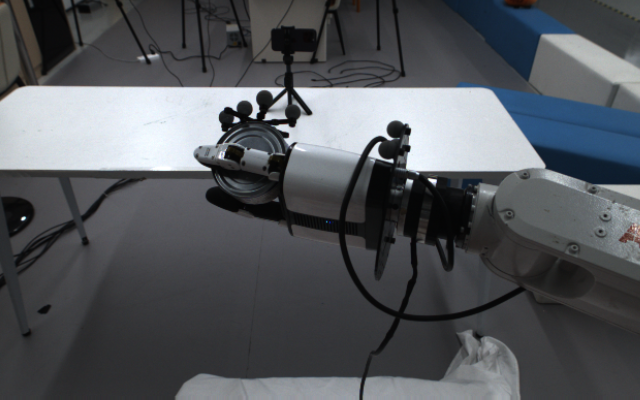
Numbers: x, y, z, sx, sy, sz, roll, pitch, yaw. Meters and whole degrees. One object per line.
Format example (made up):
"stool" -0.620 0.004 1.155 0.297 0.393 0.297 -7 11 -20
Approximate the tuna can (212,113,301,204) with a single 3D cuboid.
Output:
"tuna can" -0.071 -0.040 0.524 0.085 0.034 0.085 -5 70 14
